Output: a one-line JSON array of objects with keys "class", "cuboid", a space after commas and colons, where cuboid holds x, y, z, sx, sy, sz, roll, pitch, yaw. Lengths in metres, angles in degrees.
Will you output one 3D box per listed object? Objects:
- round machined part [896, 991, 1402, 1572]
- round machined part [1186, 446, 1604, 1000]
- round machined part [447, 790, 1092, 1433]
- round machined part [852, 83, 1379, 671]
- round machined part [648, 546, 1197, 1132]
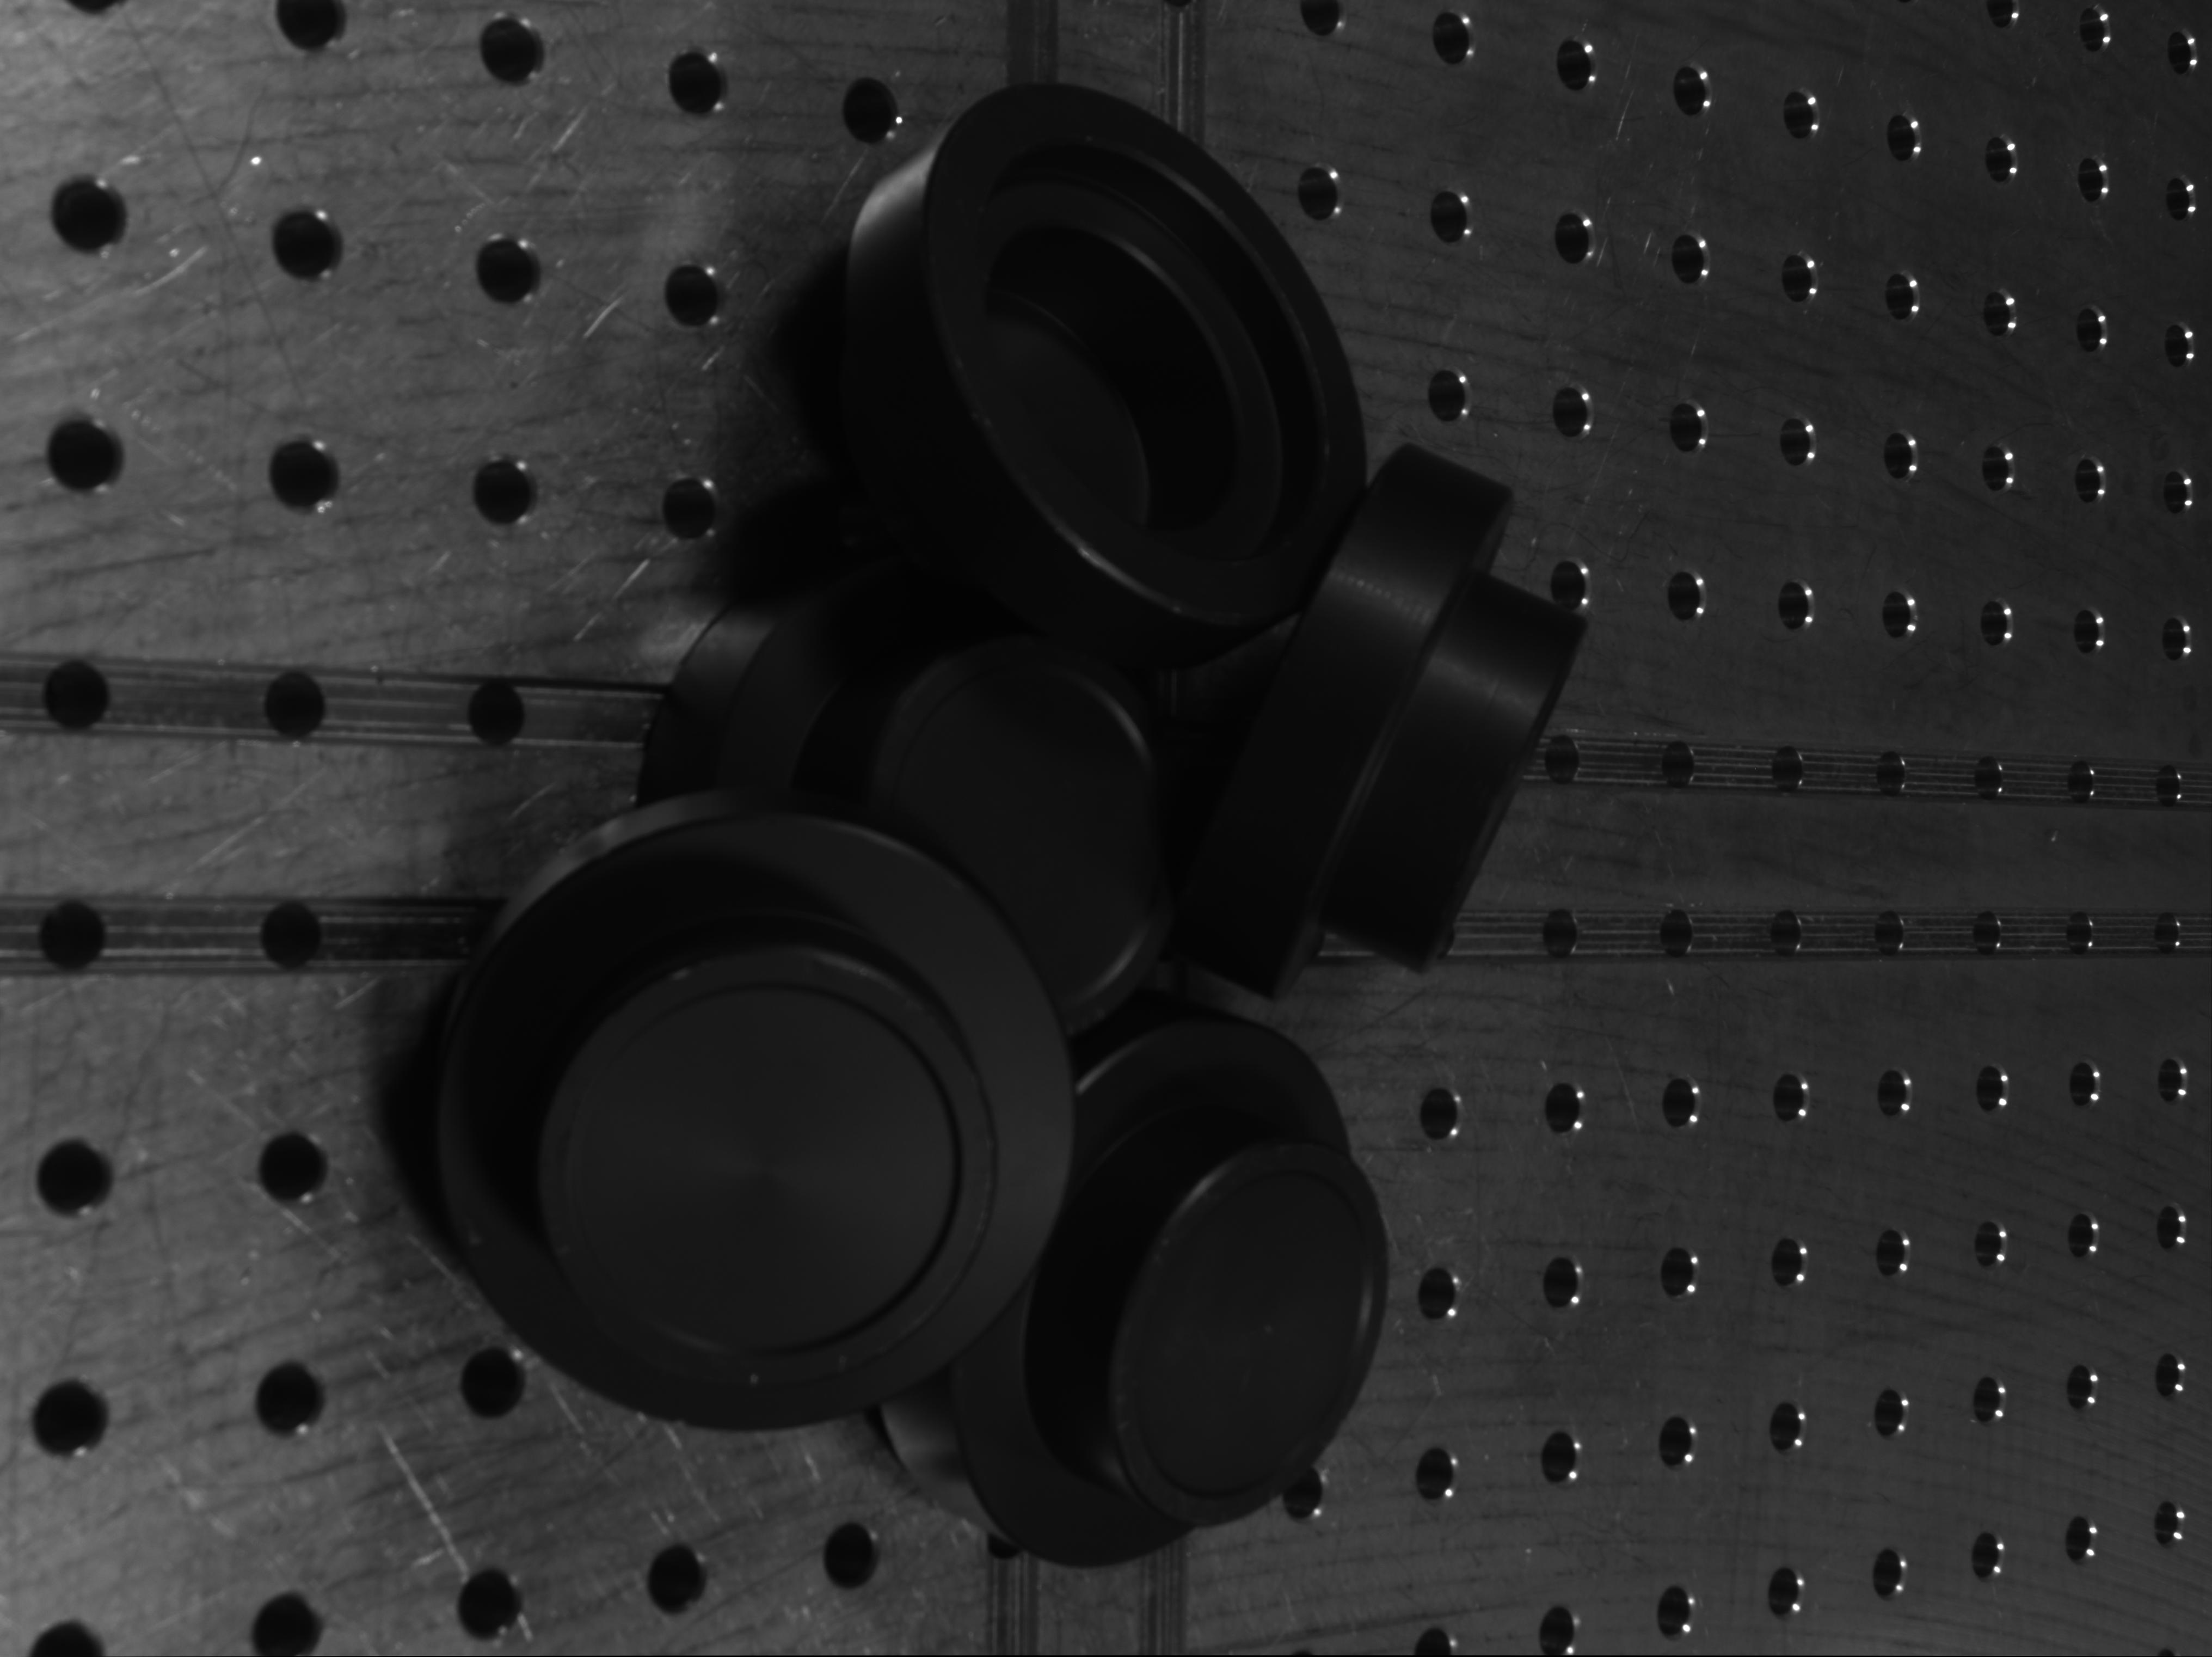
[{"class": "round machined part", "cuboid": [0.013, 0.080, 0.624, 0.098, 0.042, 0.098, -15, 112, -42]}, {"class": "round machined part", "cuboid": [0.053, -0.014, 0.636, 0.042, 0.098, 0.098, 25, 69, 6]}, {"class": "round machined part", "cuboid": [-0.050, 0.046, 0.557, 0.098, 0.042, 0.098, -2, 102, -9]}, {"class": "round machined part", "cuboid": [-0.003, -0.071, 0.612, 0.098, 0.042, 0.098, 23, 54, -35]}, {"class": "round machined part", "cuboid": [-0.024, 0.002, 0.608, 0.098, 0.042, 0.098, 0, 90, -40]}]
